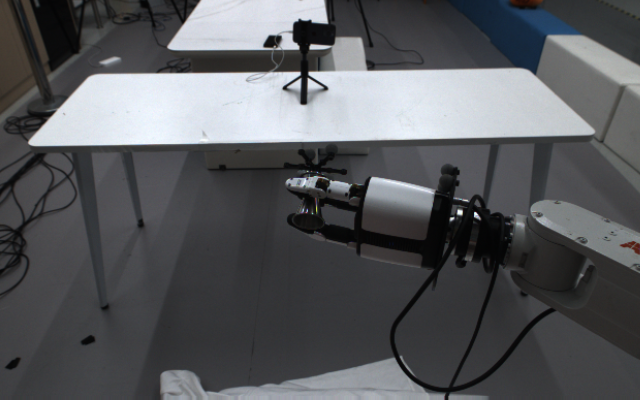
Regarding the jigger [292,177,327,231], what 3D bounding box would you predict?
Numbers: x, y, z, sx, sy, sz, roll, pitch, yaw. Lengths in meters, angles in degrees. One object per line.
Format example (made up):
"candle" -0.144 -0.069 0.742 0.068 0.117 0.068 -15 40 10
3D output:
"jigger" -0.015 -0.001 0.654 0.043 0.043 0.071 6 60 5
